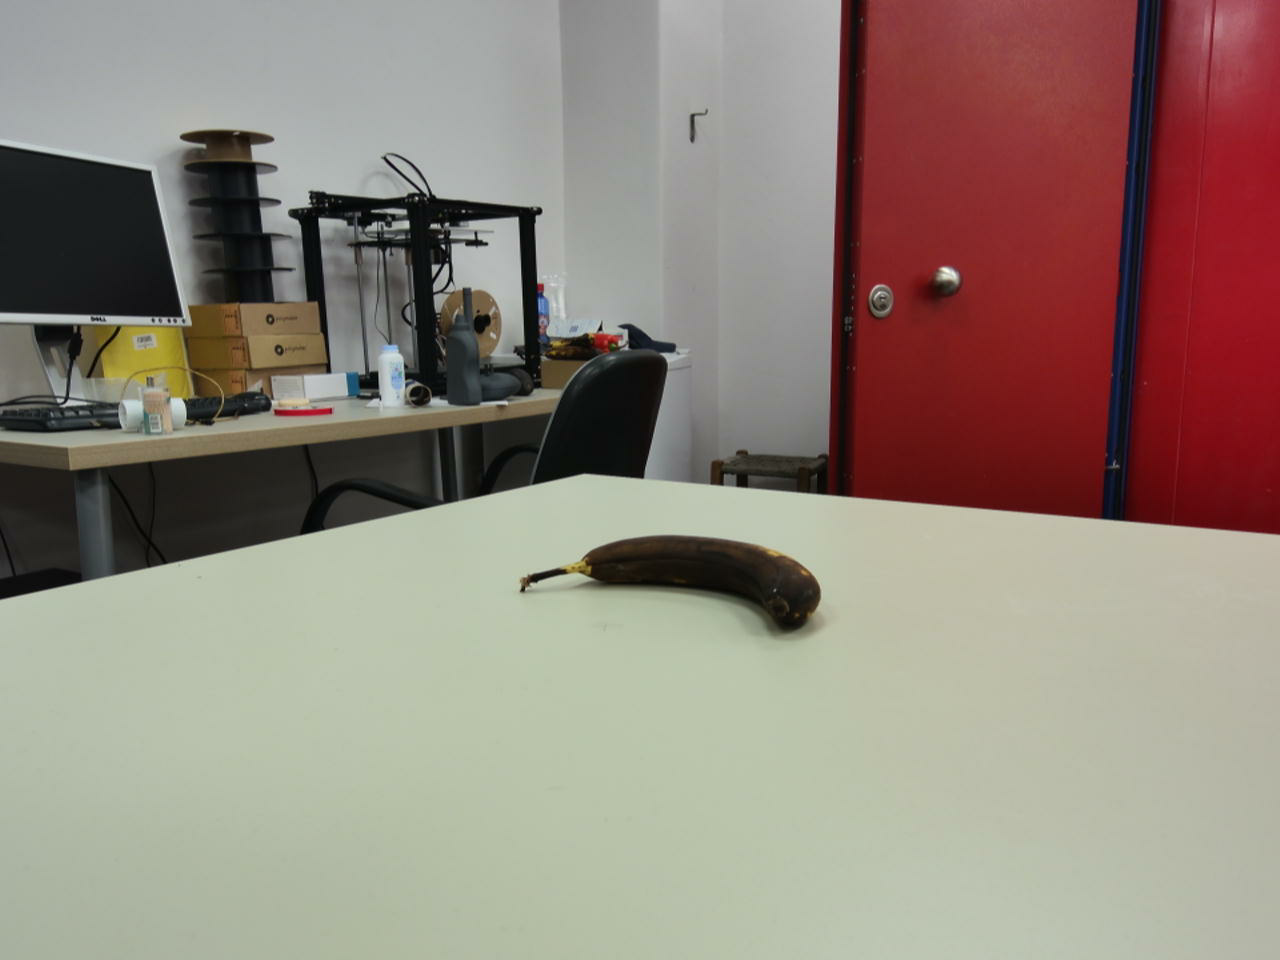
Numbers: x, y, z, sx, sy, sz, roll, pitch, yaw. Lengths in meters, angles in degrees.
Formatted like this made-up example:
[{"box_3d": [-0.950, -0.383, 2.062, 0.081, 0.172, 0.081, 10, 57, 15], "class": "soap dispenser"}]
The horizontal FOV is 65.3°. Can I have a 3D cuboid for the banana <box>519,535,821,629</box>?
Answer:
[{"box_3d": [0.029, 0.055, 0.603, 0.188, 0.033, 0.091, 6, 9, 36], "class": "banana"}]
